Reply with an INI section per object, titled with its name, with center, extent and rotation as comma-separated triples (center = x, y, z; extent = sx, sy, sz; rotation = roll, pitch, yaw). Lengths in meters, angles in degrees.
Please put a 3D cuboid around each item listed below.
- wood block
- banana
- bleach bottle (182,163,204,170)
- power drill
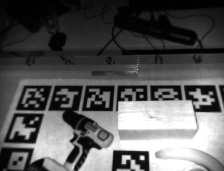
[wood block]
center = 0.121, 0.096, 0.620
extent = 0.206, 0.091, 0.089
rotation = -2, 57, 5
[banana]
center = 0.198, 0.180, 0.581
extent = 0.196, 0.039, 0.074
rotation = 14, 72, 12
[bleach bottle]
center = 0.146, 0.207, 0.442
extent = 0.067, 0.252, 0.103
rotation = 25, 61, 23
[power drill]
center = -0.115, 0.177, 0.613
extent = 0.183, 0.058, 0.187
rotation = 27, 61, 18
